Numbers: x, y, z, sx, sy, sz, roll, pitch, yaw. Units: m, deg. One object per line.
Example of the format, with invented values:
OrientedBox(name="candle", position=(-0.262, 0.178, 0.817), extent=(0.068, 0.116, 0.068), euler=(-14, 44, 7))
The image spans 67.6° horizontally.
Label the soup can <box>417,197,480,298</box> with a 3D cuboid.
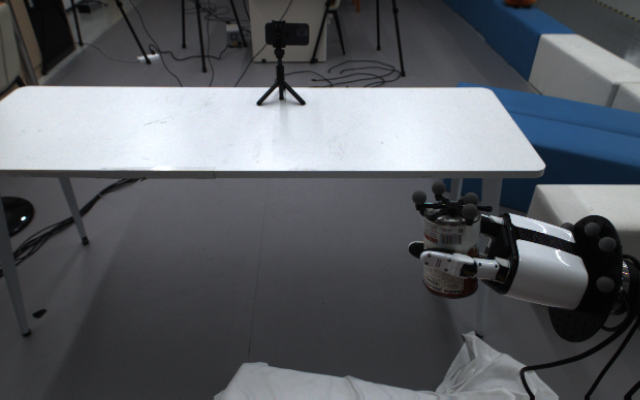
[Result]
OrientedBox(name="soup can", position=(0.164, 0.059, 0.599), extent=(0.067, 0.101, 0.067), euler=(-4, 21, 1))
